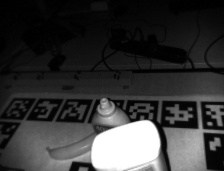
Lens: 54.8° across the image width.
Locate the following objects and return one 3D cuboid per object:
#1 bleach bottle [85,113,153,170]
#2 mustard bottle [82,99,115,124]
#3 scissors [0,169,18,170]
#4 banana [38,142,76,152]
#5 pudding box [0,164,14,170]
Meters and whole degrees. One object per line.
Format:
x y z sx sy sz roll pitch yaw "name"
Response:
0.035 0.160 0.367 0.102 0.253 0.067 -18 37 8 "bleach bottle"
-0.027 0.099 0.525 0.095 0.193 0.058 11 47 26 "mustard bottle"
-0.299 0.172 0.492 0.200 0.016 0.088 24 57 30 "scissors"
-0.113 0.137 0.608 0.198 0.039 0.073 -26 25 -13 "banana"
-0.279 0.225 0.527 0.113 0.090 0.039 3 38 19 "pudding box"
